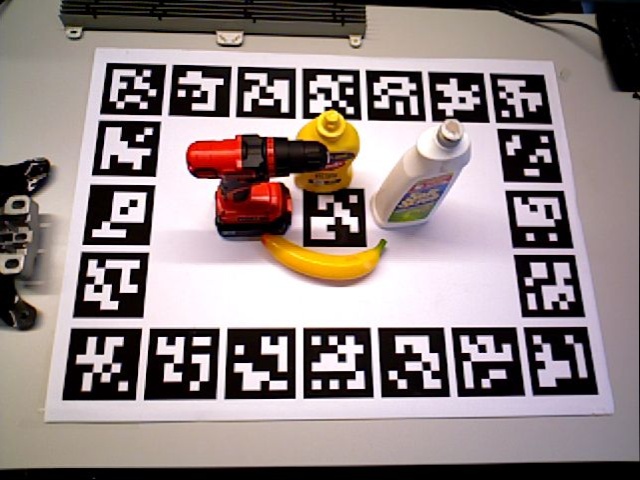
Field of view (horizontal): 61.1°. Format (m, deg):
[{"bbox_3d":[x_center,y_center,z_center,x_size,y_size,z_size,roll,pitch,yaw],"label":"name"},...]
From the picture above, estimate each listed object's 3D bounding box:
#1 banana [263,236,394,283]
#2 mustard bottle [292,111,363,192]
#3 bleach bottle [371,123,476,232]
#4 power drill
[{"bbox_3d":[0.012,0.027,0.812,0.196,0.039,0.074,3,77,-1],"label":"banana"},{"bbox_3d":[0.011,-0.134,0.782,0.095,0.194,0.058,1,71,-6],"label":"mustard bottle"},{"bbox_3d":[0.143,-0.085,0.753,0.102,0.254,0.067,-8,73,-7],"label":"bleach bottle"},{"bbox_3d":[-0.087,-0.083,0.740,0.183,0.190,0.057,-2,65,-8],"label":"power drill"}]
